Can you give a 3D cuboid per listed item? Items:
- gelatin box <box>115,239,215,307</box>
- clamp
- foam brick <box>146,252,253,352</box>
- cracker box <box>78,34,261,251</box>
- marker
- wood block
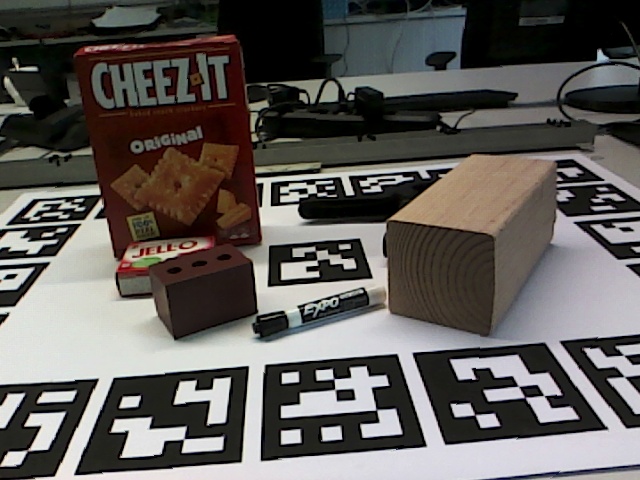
[{"bbox_3d":[-0.152,0.031,0.620,0.089,0.030,0.073,-6,28,-3],"label":"gelatin box"},{"bbox_3d":[0.092,-0.045,0.717,0.202,0.036,0.166,-21,32,-29],"label":"clamp"},{"bbox_3d":[-0.106,0.052,0.542,0.078,0.051,0.053,-18,31,-24],"label":"foam brick"},{"bbox_3d":[-0.153,-0.103,0.666,0.164,0.213,0.072,-6,25,-6],"label":"cracker box"},{"bbox_3d":[-0.014,0.070,0.524,0.120,0.019,0.020,-15,30,-20],"label":"marker"},{"bbox_3d":[0.140,-0.002,0.574,0.090,0.091,0.205,9,27,30],"label":"wood block"}]
